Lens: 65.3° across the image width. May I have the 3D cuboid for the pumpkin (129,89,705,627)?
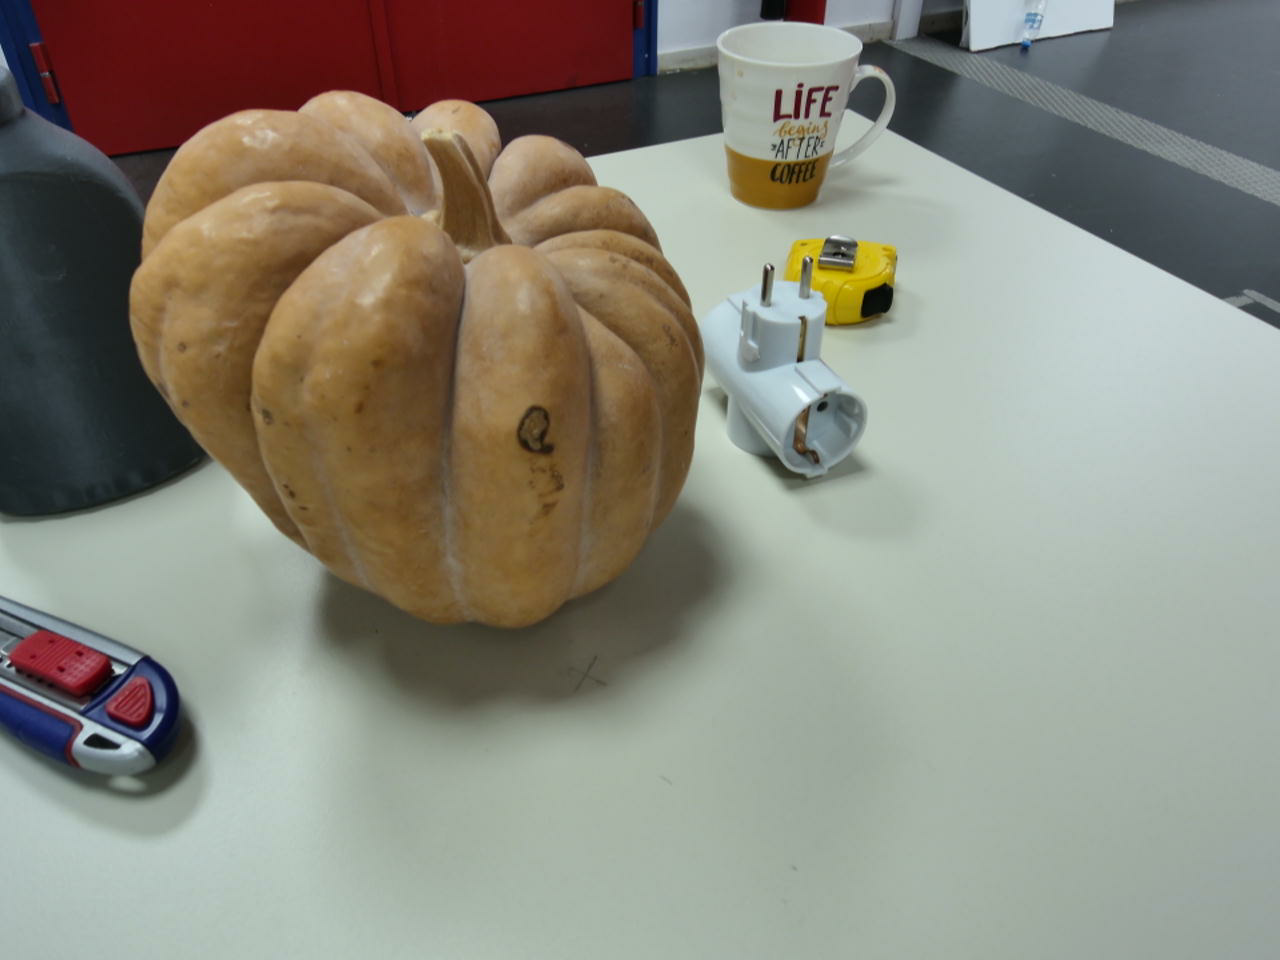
[{"bbox_3d":[-0.072,-0.042,0.362,0.199,0.177,0.198,0,38,0],"label":"pumpkin"}]
